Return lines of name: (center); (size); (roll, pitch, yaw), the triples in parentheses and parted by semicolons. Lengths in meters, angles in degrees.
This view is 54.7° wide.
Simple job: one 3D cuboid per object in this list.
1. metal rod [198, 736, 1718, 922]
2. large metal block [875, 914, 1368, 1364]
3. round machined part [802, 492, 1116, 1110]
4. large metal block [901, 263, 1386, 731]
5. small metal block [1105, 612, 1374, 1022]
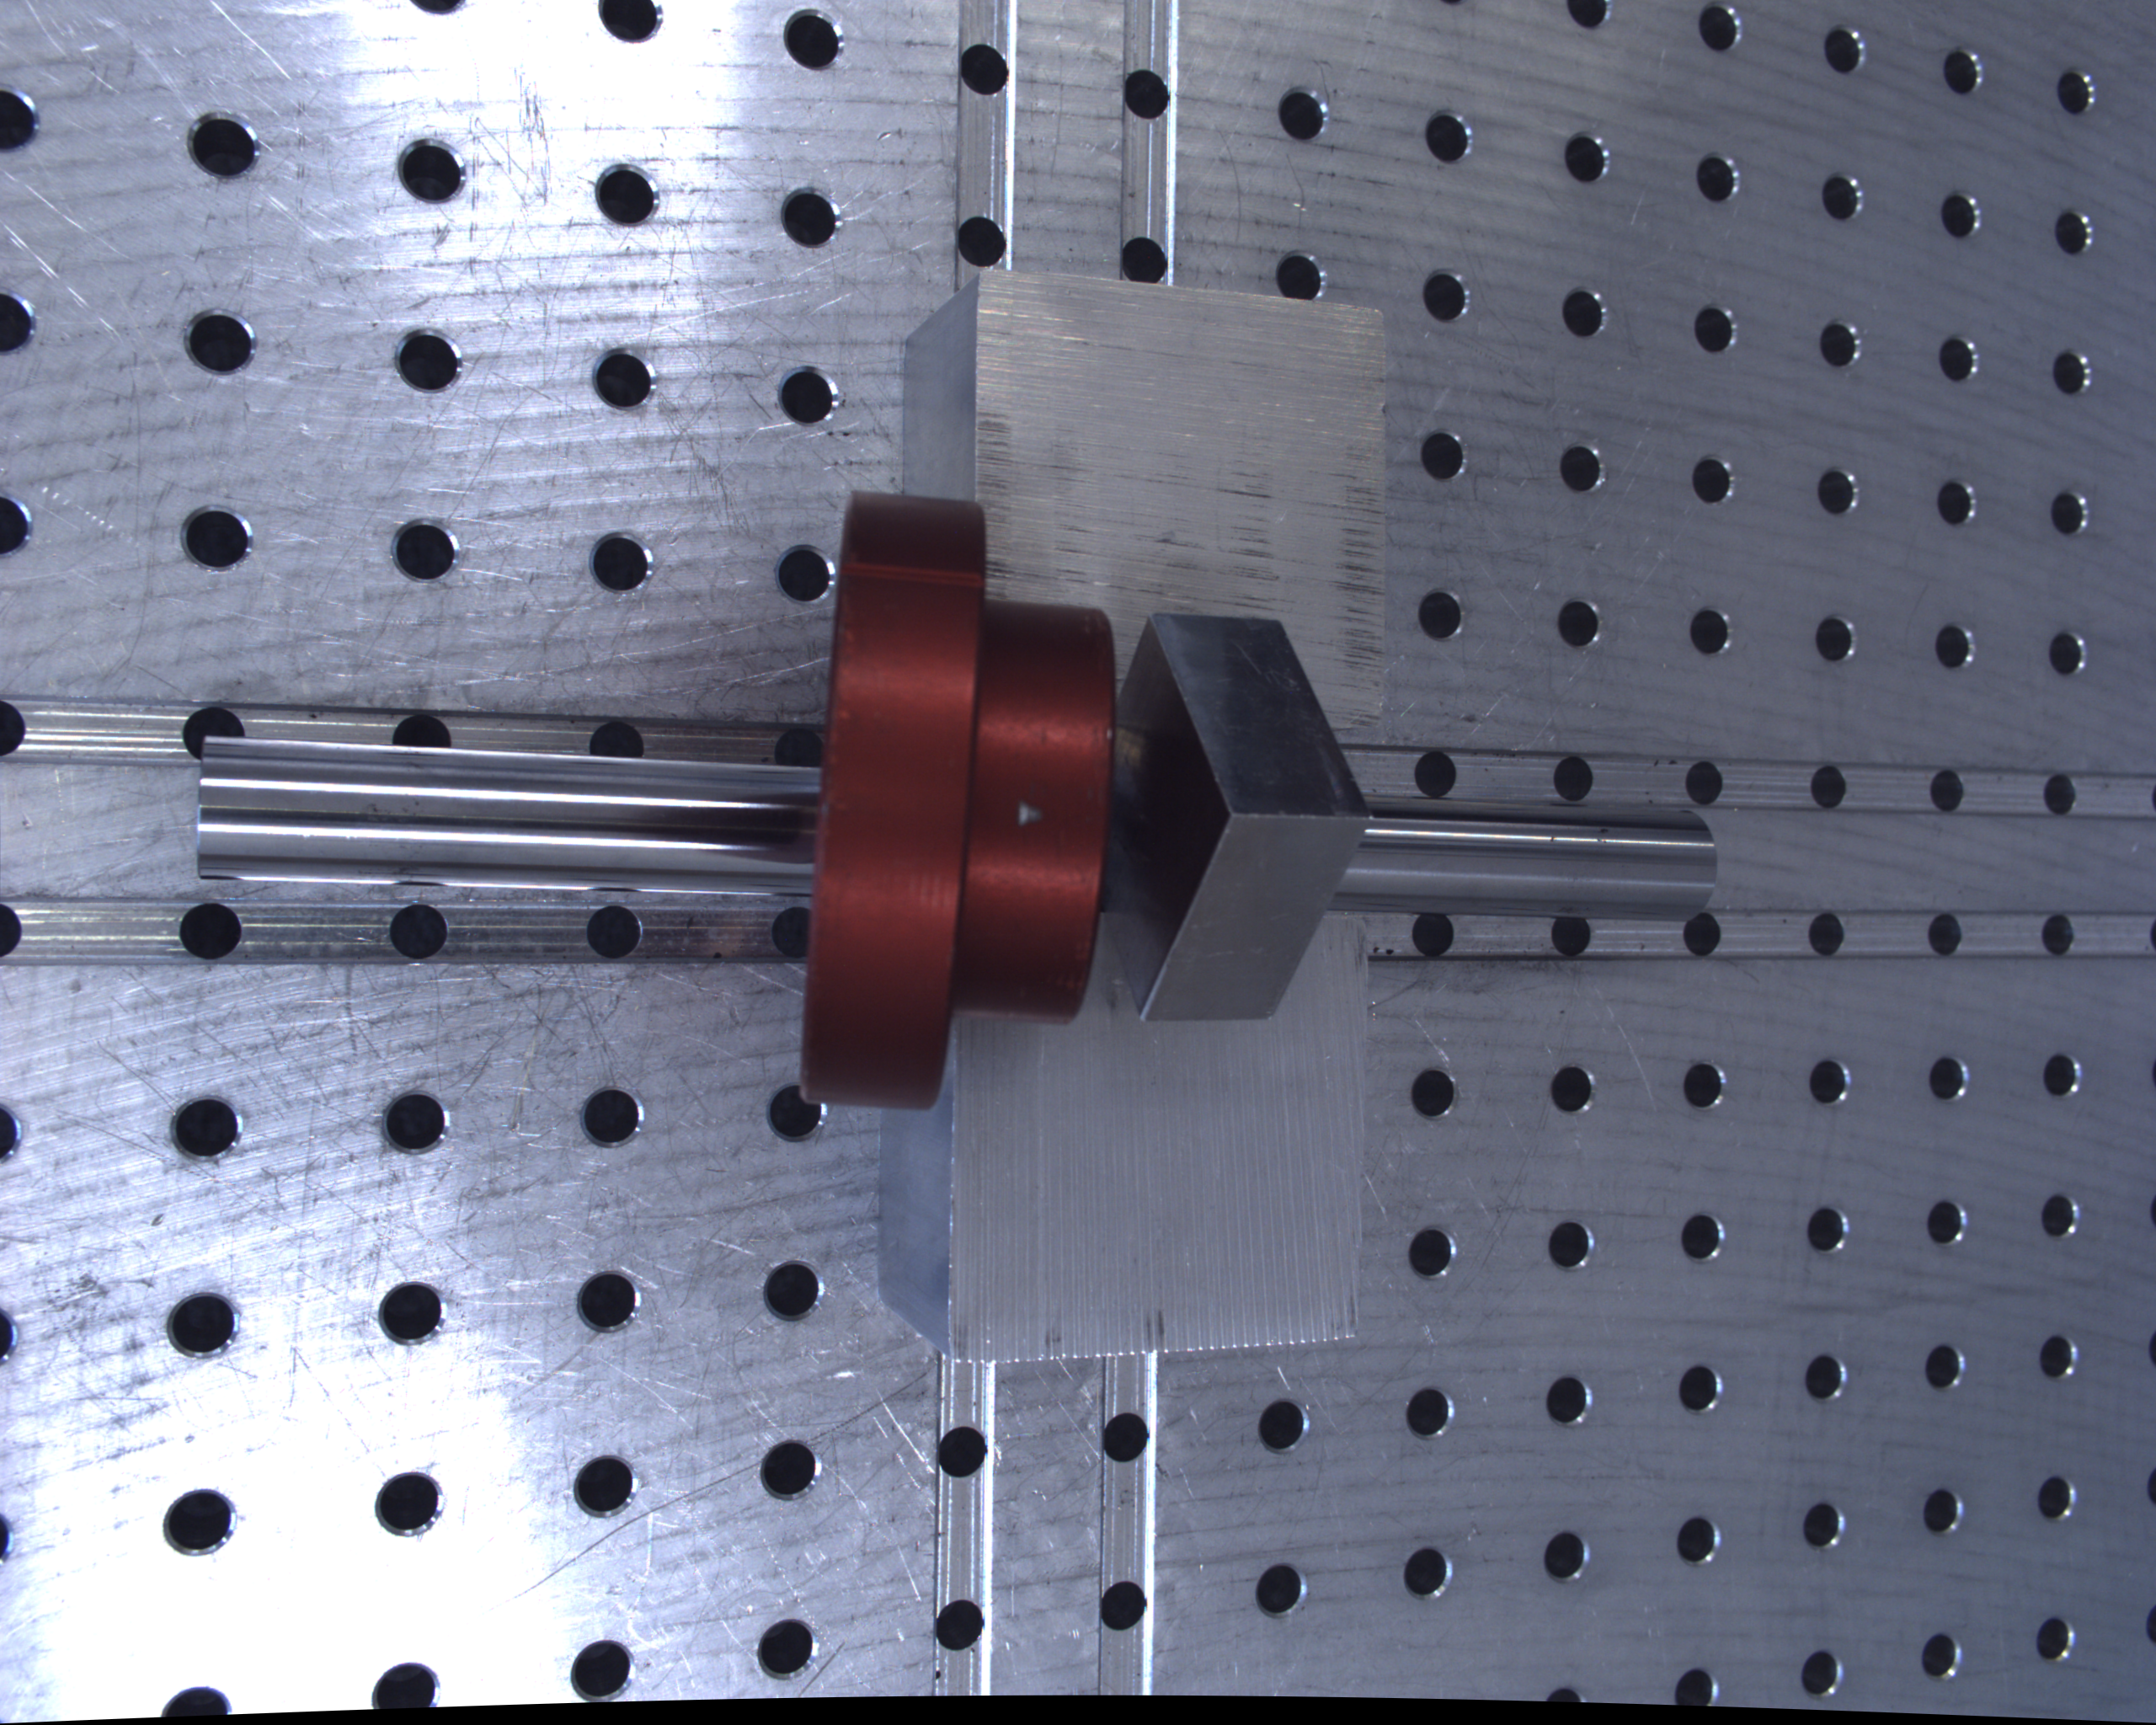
metal rod: (-0.008, -0.004, 0.409); (0.302, 0.025, 0.025); (2, 90, -20)
large metal block: (0.007, 0.049, 0.402); (0.081, 0.050, 0.080); (1, 90, -20)
round machined part: (-0.019, -0.009, 0.336); (0.042, 0.098, 0.097); (4, 89, -6)
large metal block: (0.011, -0.065, 0.403); (0.081, 0.050, 0.079); (1, 90, -20)
small metal block: (0.023, -0.008, 0.361); (0.025, 0.050, 0.050); (1, 46, -20)
